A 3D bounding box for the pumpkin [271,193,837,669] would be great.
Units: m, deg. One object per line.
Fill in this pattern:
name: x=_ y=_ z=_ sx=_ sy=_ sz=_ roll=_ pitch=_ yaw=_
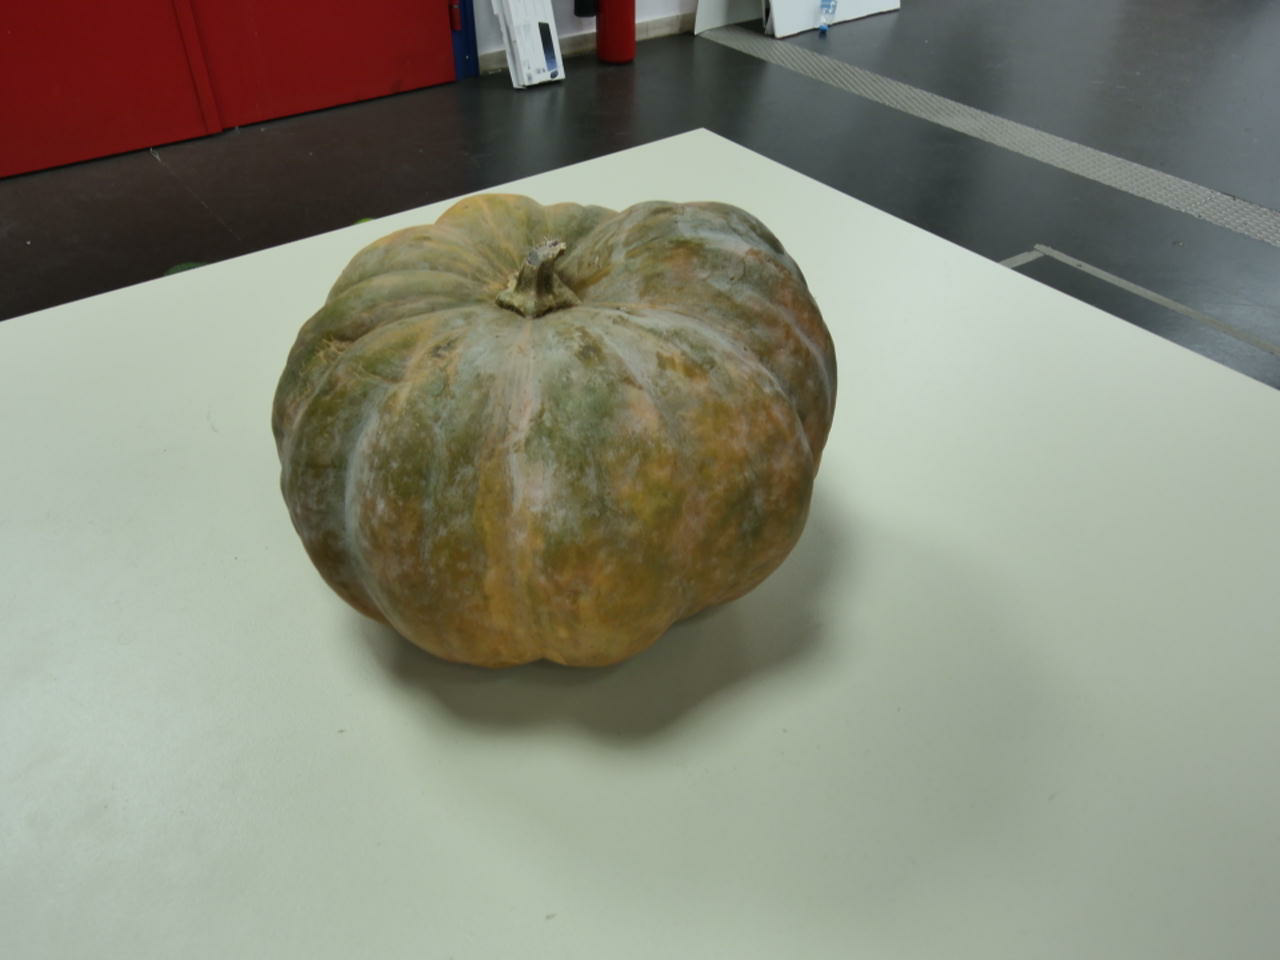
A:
pumpkin: x=-0.039 y=-0.029 z=0.449 sx=0.252 sy=0.169 sz=0.251 roll=0 pitch=38 yaw=0
